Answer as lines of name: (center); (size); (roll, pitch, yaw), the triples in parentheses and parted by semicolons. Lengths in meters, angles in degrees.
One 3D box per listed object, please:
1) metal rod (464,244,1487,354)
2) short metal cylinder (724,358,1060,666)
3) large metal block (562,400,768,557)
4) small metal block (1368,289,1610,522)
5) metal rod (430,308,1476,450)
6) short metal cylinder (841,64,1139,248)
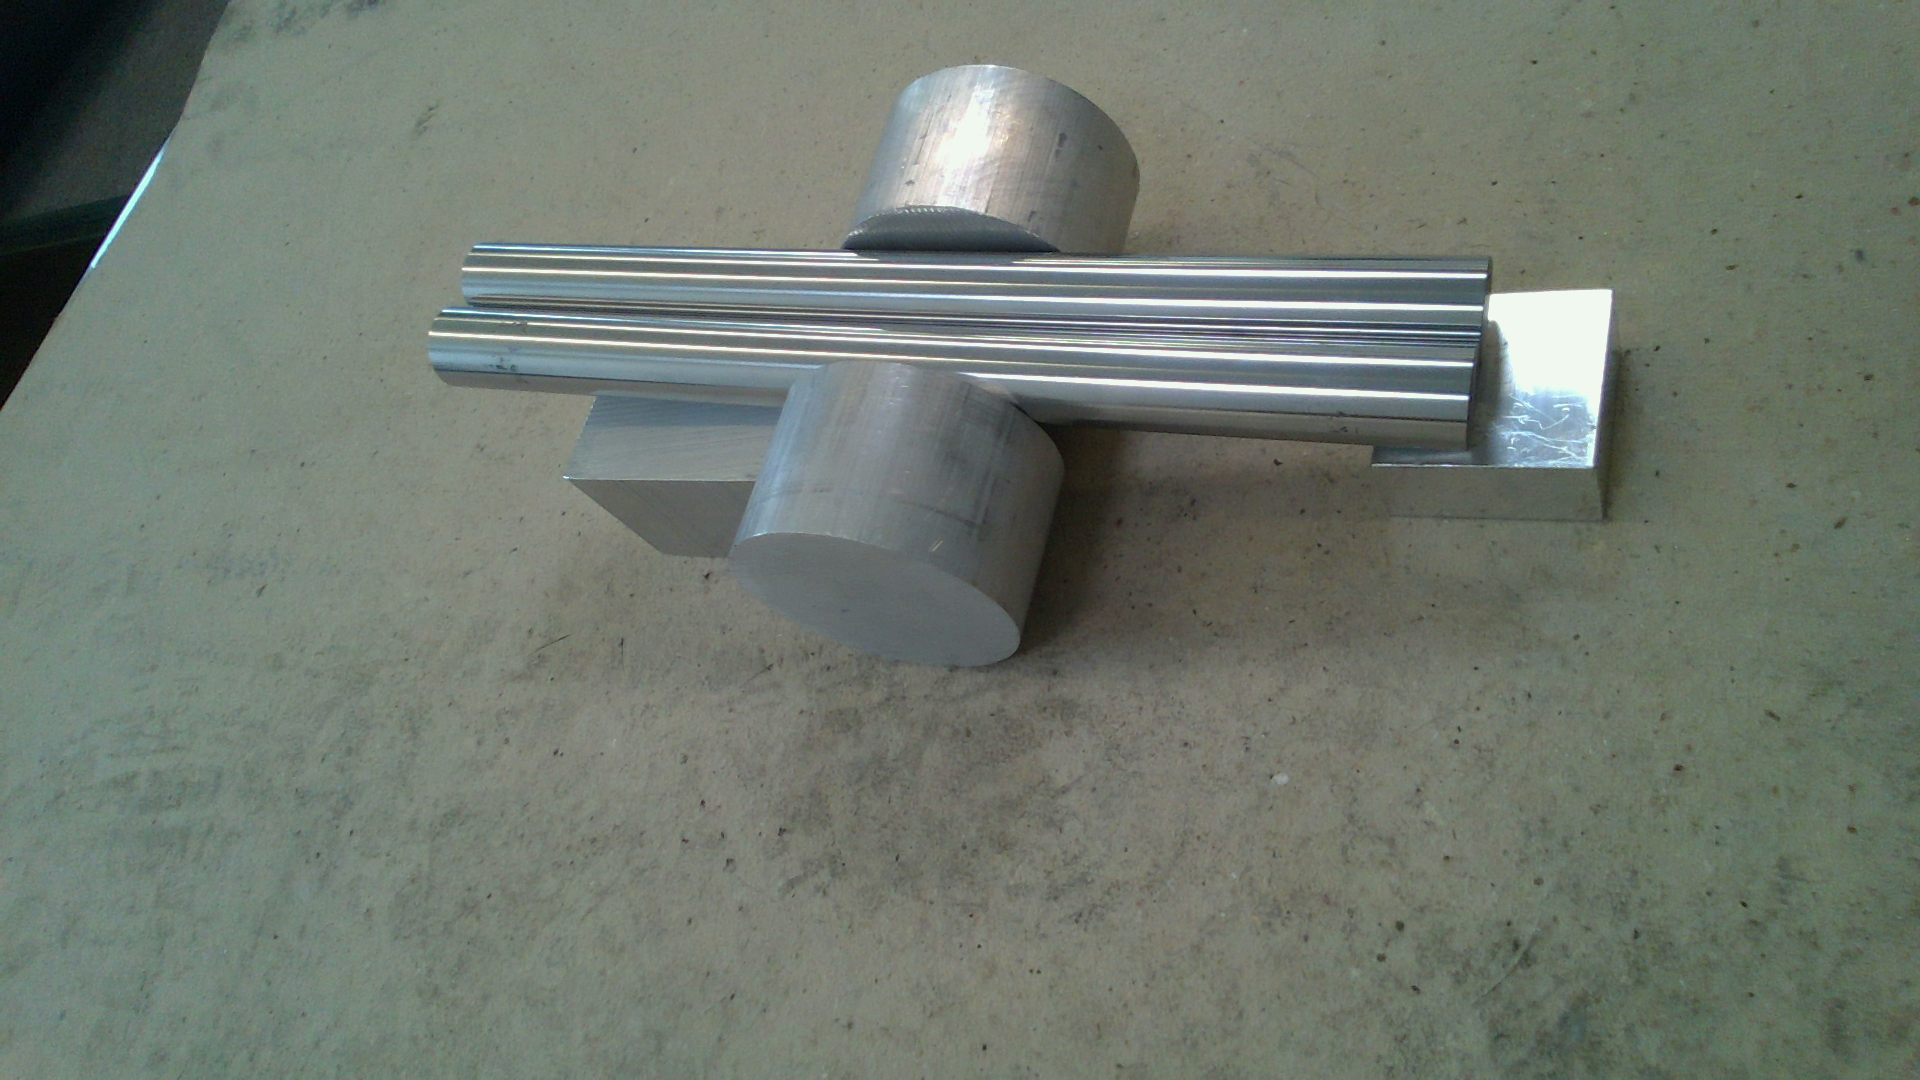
metal rod: (-0.013, -0.069, 0.386); (0.299, 0.025, 0.025); (6, 64, 22)
short metal cylinder: (-0.017, -0.005, 0.371); (0.080, 0.080, 0.050); (1, 62, 29)
large metal block: (-0.067, -0.041, 0.440); (0.080, 0.050, 0.080); (2, 62, 29)
small metal block: (0.133, -0.033, 0.343); (0.050, 0.025, 0.050); (3, 63, 30)
metal rod: (-0.019, -0.047, 0.375); (0.299, 0.025, 0.025); (6, 64, 22)
short metal cylinder: (0.009, -0.094, 0.411); (0.080, 0.080, 0.050); (1, 62, 29)
